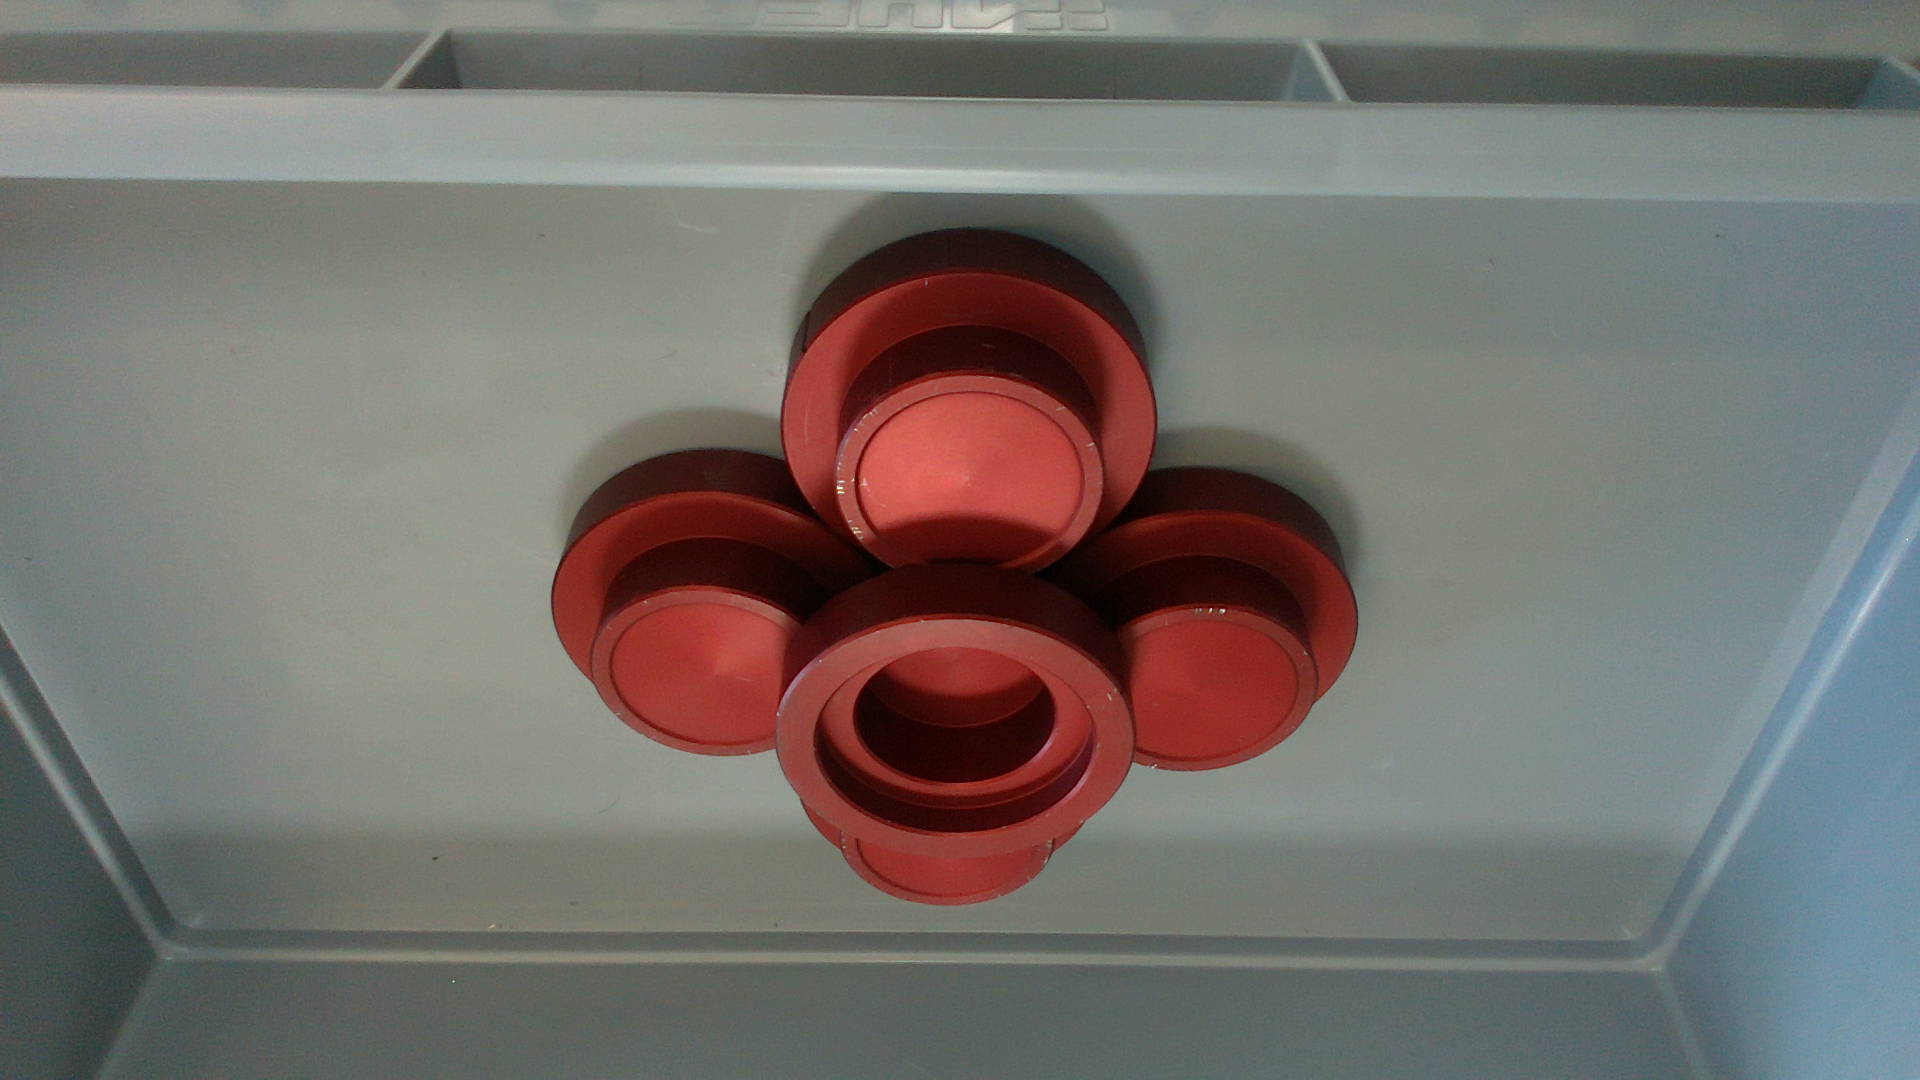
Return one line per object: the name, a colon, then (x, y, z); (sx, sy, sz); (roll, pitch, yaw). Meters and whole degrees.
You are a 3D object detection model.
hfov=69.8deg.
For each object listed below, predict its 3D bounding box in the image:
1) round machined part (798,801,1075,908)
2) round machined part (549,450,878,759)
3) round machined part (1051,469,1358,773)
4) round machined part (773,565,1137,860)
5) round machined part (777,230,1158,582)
round machined part: (-0.004, 0.082, 0.446); (0.098, 0.042, 0.098); (-1, 129, -1)
round machined part: (-0.069, 0.025, 0.398); (0.098, 0.042, 0.098); (0, 130, 0)
round machined part: (0.067, 0.030, 0.403); (0.098, 0.042, 0.098); (0, 130, 0)
round machined part: (-0.001, 0.043, 0.386); (0.098, 0.042, 0.098); (0, 130, 0)
round machined part: (0.002, -0.026, 0.354); (0.098, 0.042, 0.098); (0, 130, 0)
